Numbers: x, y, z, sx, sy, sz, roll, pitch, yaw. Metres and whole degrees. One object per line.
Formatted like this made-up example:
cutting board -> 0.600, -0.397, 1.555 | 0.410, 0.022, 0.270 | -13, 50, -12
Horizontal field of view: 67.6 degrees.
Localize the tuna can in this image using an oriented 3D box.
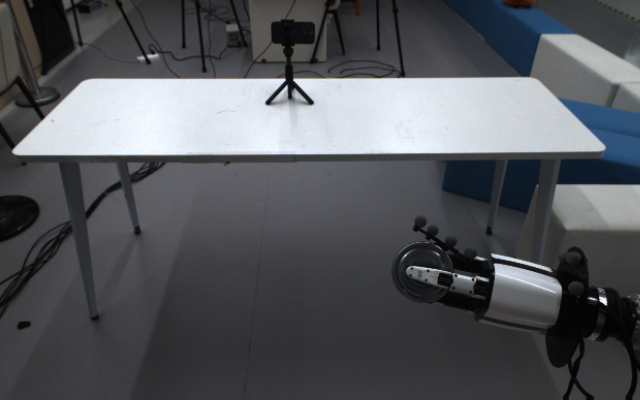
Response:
tuna can -> 0.147, 0.098, 0.678 | 0.085, 0.085, 0.034 | 12, -4, 15
